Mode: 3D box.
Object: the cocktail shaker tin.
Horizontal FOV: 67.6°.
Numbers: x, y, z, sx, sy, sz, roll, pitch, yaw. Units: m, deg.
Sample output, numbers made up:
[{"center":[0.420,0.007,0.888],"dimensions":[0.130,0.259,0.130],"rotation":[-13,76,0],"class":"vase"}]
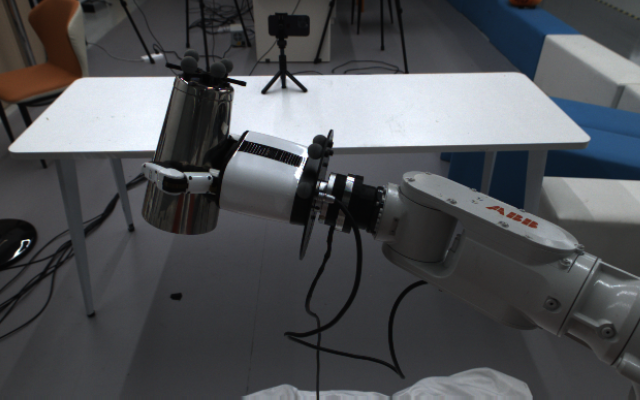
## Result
[{"center":[-0.150,-0.055,0.571],"dimensions":[0.093,0.170,0.093],"rotation":[15,20,-5],"class":"cocktail shaker tin"}]
